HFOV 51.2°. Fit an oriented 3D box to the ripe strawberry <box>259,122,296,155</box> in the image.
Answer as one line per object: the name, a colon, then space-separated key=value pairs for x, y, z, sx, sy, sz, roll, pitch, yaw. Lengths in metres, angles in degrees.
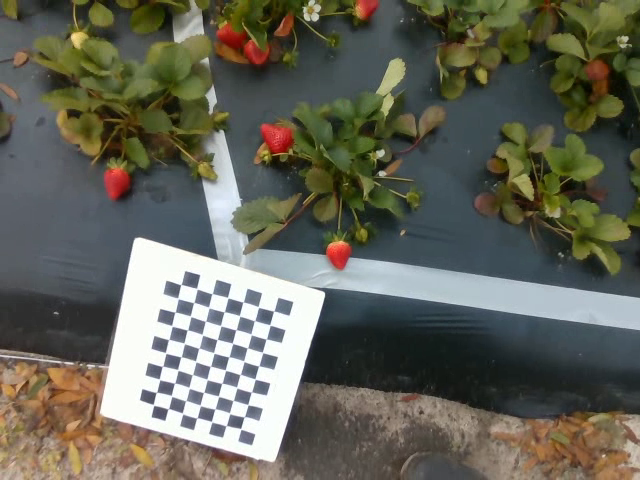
ripe strawberry: x=-0.060 y=-0.149 z=0.967 sx=0.062 sy=0.043 sz=0.043 roll=36 pitch=15 yaw=0

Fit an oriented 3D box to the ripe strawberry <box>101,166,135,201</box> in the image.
ripe strawberry: x=-0.261 y=-0.073 z=0.893 sx=0.036 sy=0.046 sz=0.040 roll=3 pitch=-33 yaw=10

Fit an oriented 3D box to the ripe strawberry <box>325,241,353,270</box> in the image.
ripe strawberry: x=0.029 y=0.017 z=0.945 sx=0.039 sy=0.047 sz=0.041 roll=-17 pitch=4 yaw=13
